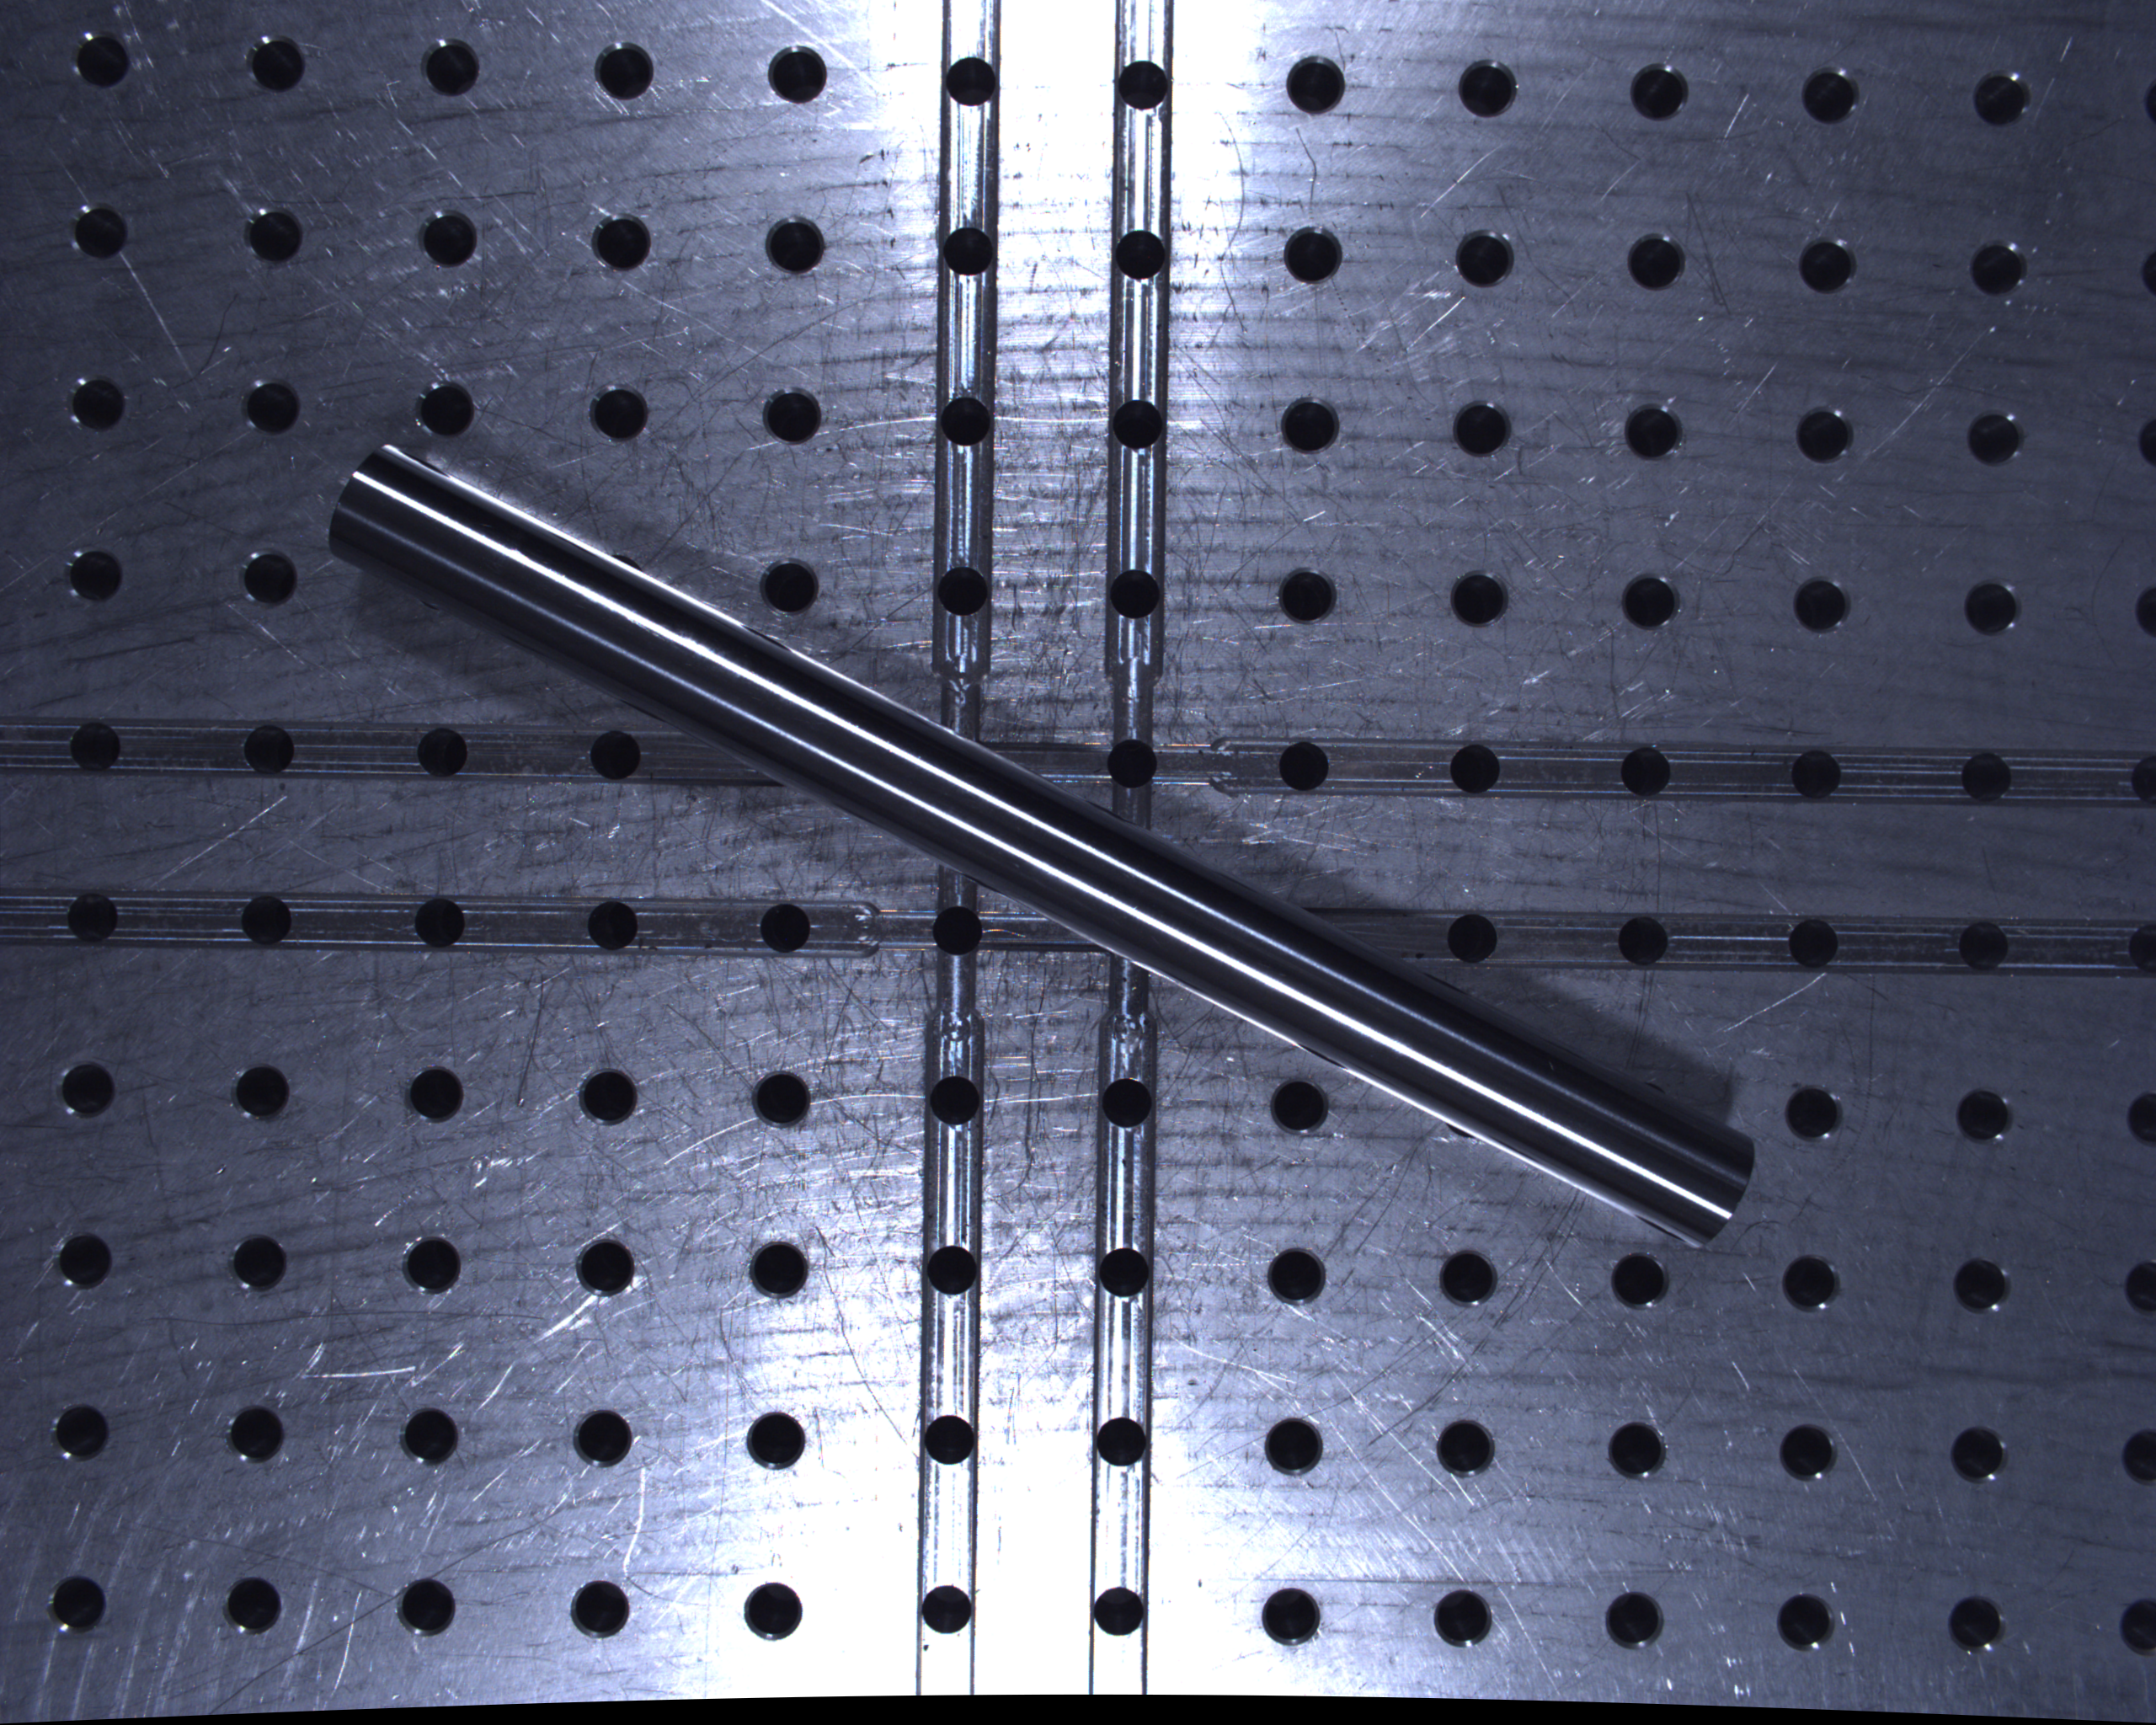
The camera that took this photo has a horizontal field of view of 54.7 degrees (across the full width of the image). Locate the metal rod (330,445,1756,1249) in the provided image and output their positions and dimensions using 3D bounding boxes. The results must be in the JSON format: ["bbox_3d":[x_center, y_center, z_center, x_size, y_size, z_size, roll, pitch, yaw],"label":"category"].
[{"bbox_3d":[-0.006,-0.003,0.413,0.301,0.025,0.025,27,90,-1],"label":"metal rod"}]
